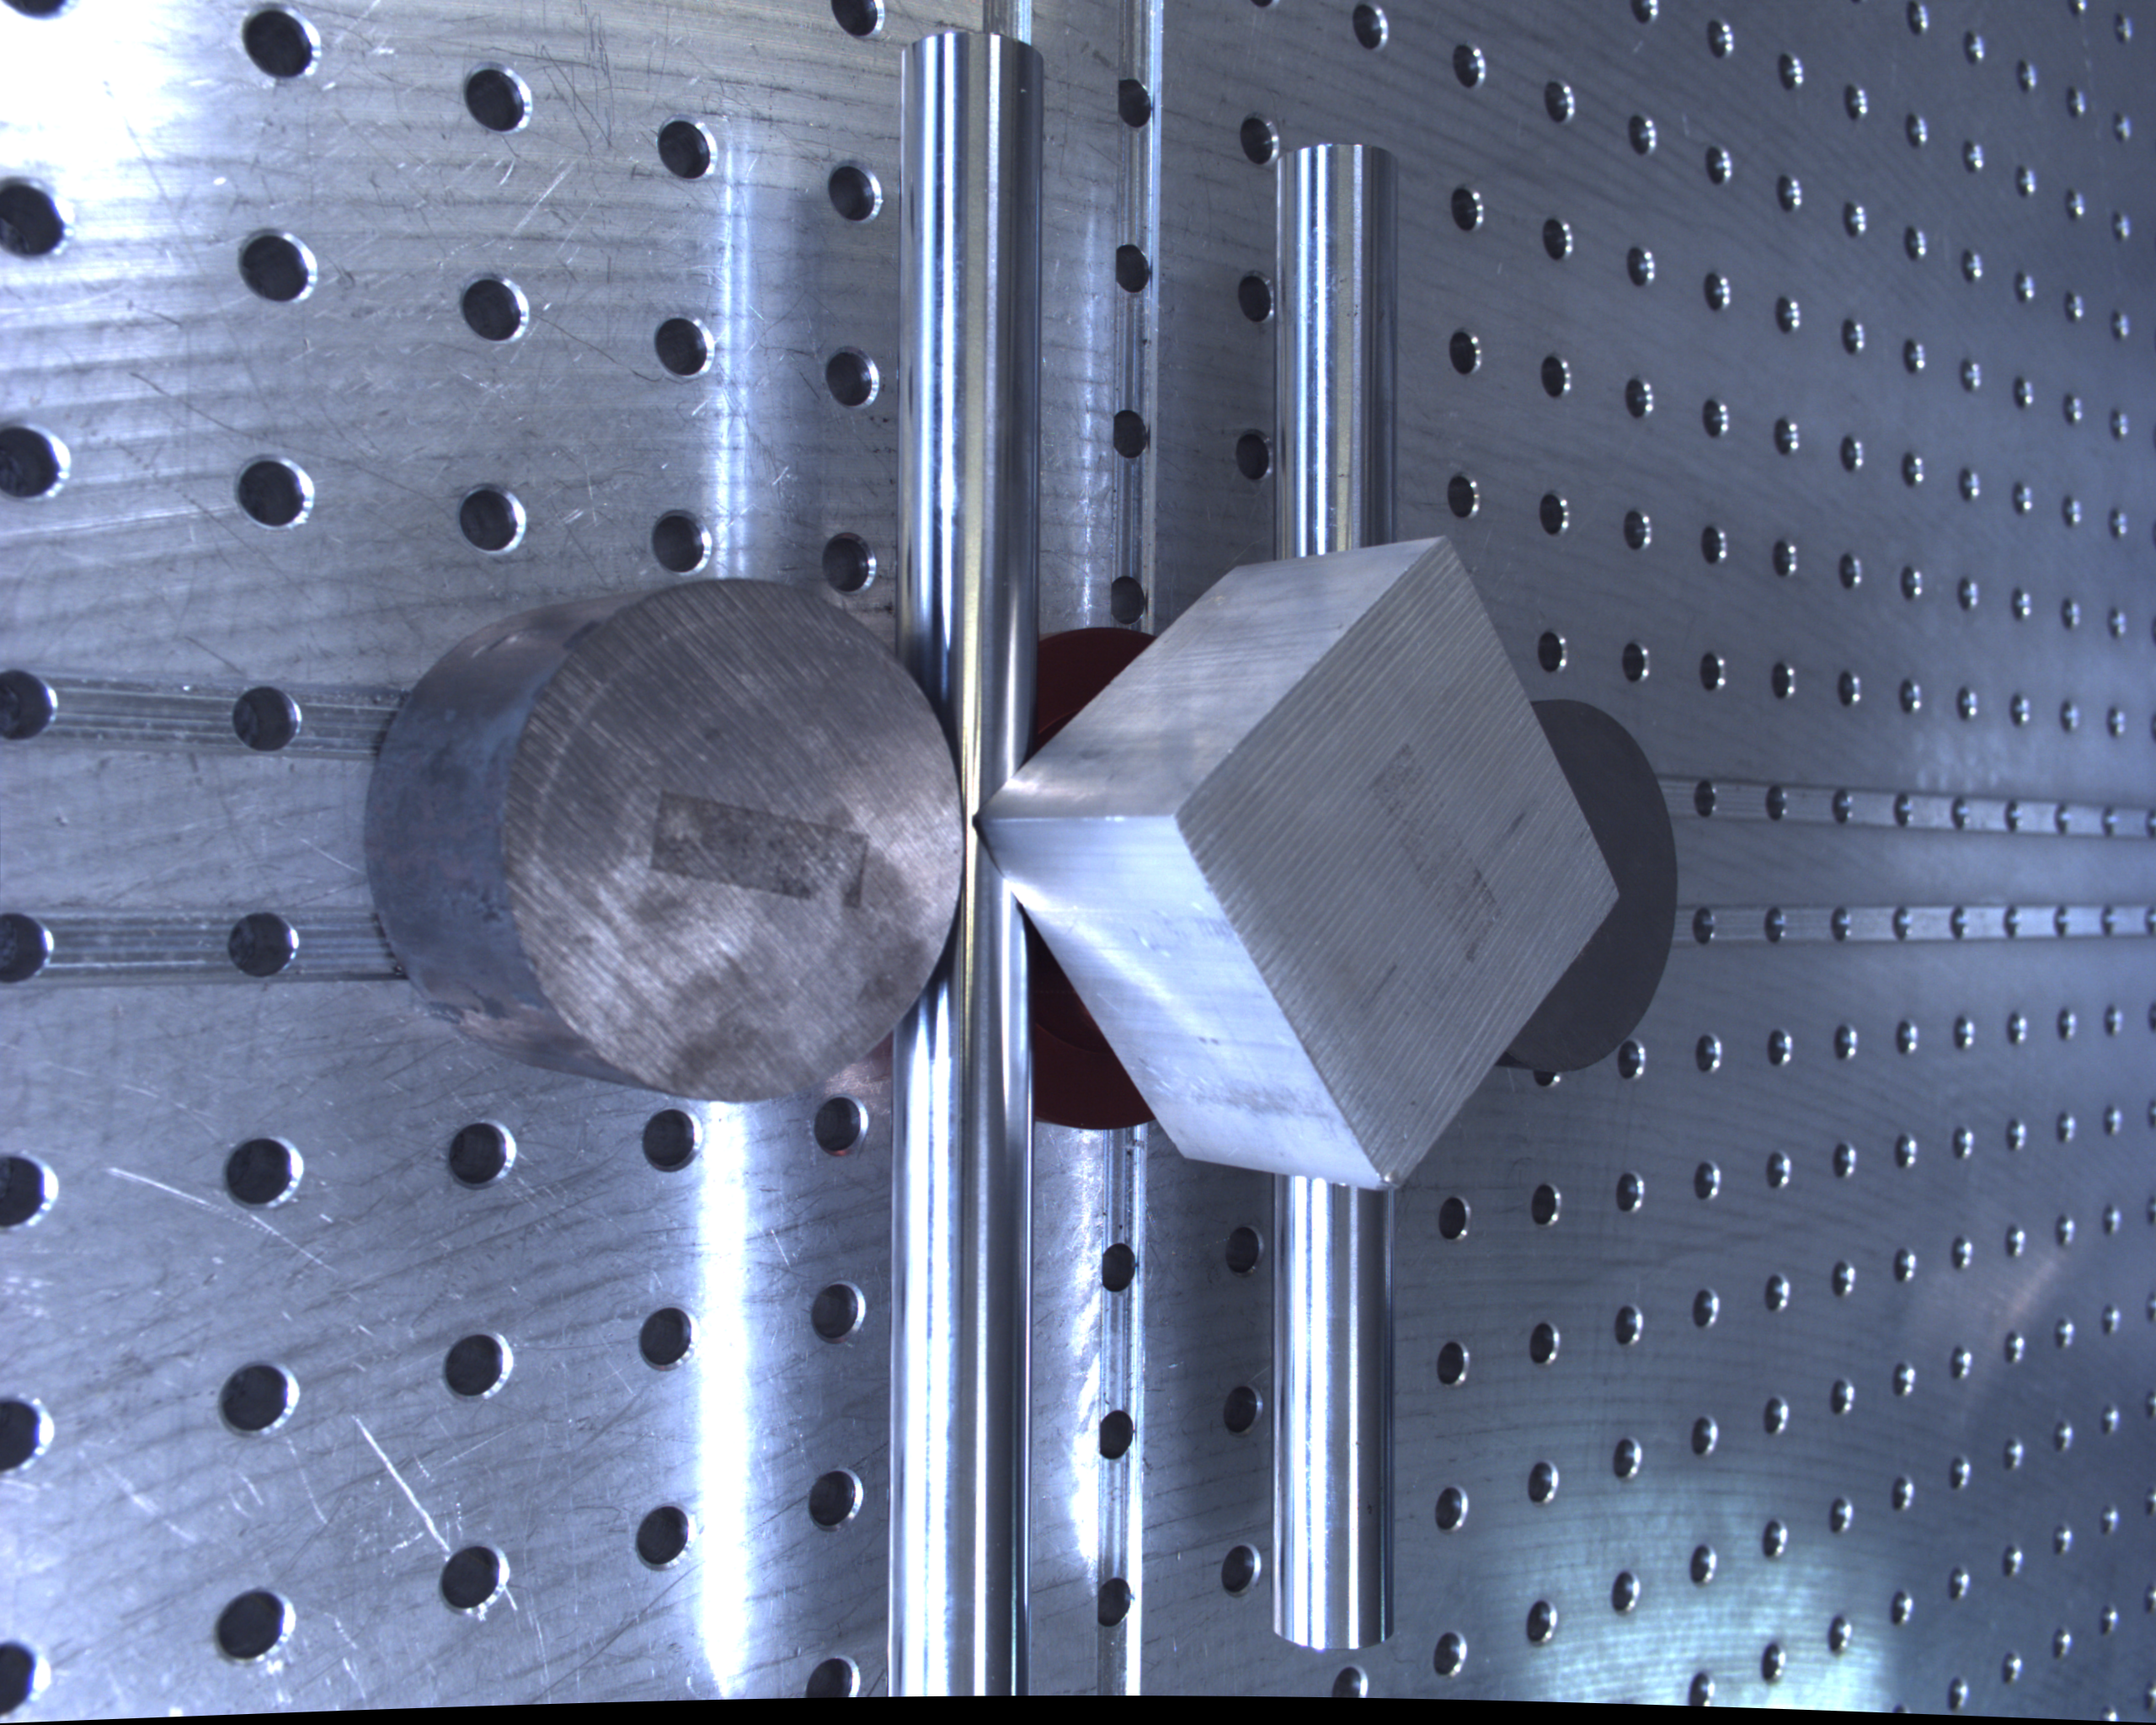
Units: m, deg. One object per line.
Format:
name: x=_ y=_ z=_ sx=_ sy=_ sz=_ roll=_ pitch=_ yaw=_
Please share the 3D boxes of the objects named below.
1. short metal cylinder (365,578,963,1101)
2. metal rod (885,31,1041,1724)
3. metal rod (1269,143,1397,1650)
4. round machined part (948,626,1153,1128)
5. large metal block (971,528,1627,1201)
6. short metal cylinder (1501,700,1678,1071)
short metal cylinder: x=-0.066 y=-0.004 z=0.337 sx=0.081 sy=0.050 sz=0.080 roll=0 pitch=90 yaw=-40
metal rod: x=-0.020 y=0.008 z=0.365 sx=0.025 sy=0.025 sz=0.298 roll=1 pitch=90 yaw=-40
metal rod: x=0.052 y=0.007 z=0.425 sx=0.025 sy=0.025 sz=0.298 roll=0 pitch=90 yaw=-40
round machined part: x=0.007 y=0.003 z=0.405 sx=0.099 sy=0.042 sz=0.097 roll=0 pitch=90 yaw=-40
large metal block: x=0.041 y=-0.001 z=0.366 sx=0.080 sy=0.050 sz=0.080 roll=-46 pitch=118 yaw=-30
short metal cylinder: x=0.089 y=0.005 z=0.467 sx=0.081 sy=0.050 sz=0.080 roll=0 pitch=90 yaw=-40
